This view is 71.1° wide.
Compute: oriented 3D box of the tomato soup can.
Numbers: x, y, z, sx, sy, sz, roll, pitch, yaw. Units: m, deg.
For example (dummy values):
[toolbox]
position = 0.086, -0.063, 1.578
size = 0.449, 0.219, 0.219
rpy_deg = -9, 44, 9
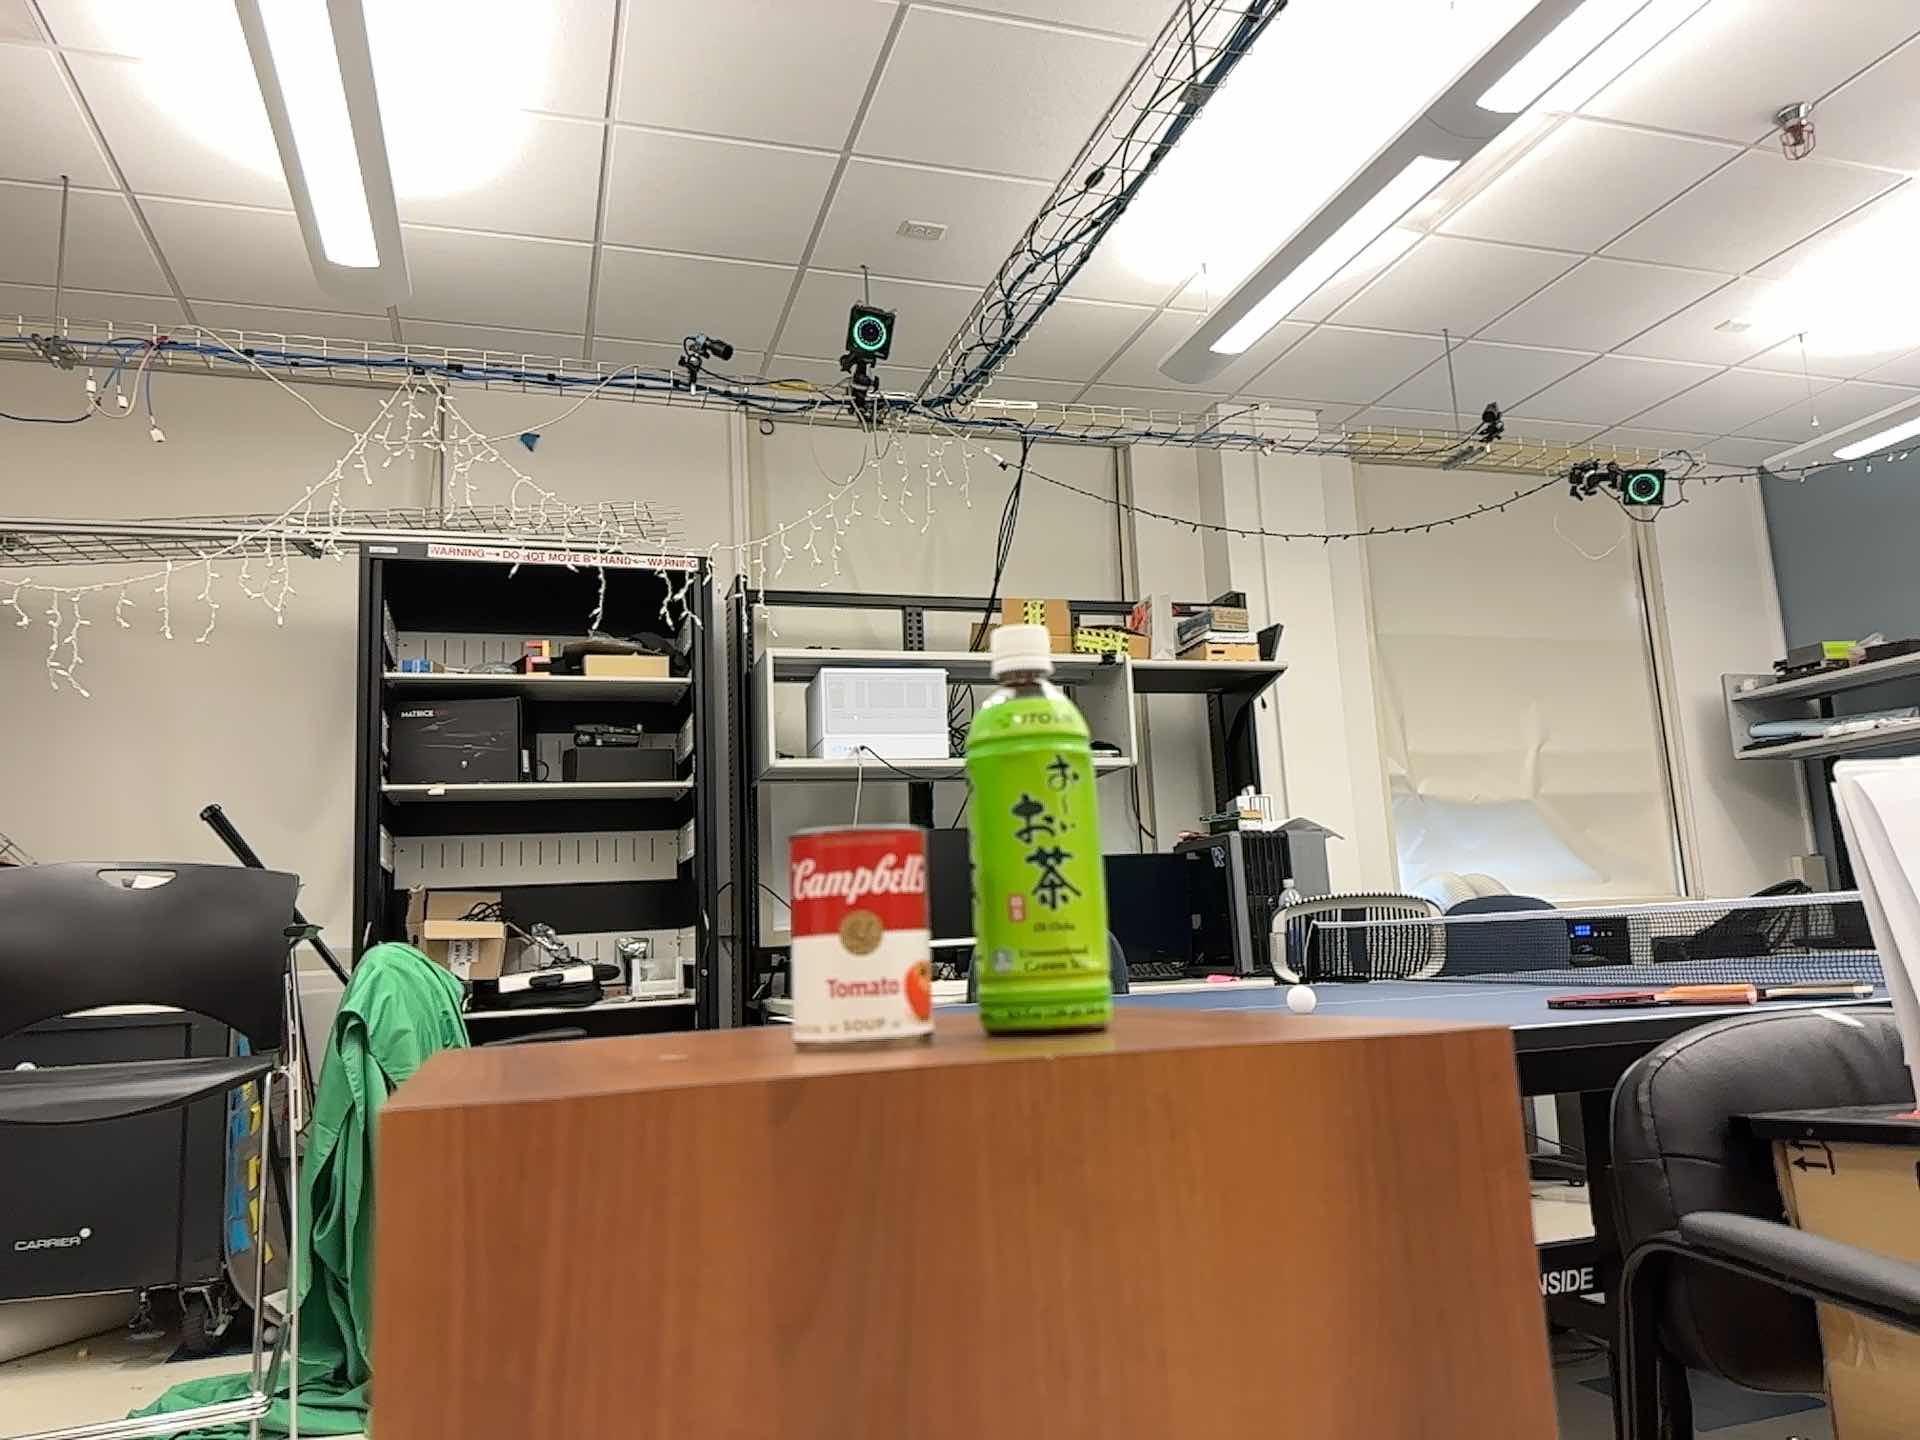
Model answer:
[tomato soup can]
position = -0.049, 0.099, 0.640
size = 0.067, 0.102, 0.067
rpy_deg = -3, -9, -1

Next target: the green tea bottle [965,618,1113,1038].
[green tea bottle]
position = 0.037, 0.053, 0.691
size = 0.073, 0.212, 0.073
rpy_deg = -4, -8, -1
